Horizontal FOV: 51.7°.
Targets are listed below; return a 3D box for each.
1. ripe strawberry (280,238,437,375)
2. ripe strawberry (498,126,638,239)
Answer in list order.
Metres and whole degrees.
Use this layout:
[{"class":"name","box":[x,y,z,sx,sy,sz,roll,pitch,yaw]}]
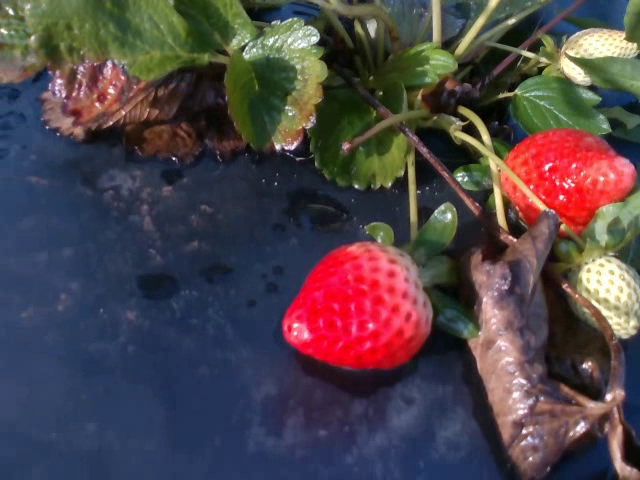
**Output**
[{"class":"ripe strawberry","box":[0.007,0.015,0.151,0.043,0.030,0.035,-24,47,-34]},{"class":"ripe strawberry","box":[0.078,-0.022,0.195,0.039,0.032,0.048,-10,-1,-15]}]
